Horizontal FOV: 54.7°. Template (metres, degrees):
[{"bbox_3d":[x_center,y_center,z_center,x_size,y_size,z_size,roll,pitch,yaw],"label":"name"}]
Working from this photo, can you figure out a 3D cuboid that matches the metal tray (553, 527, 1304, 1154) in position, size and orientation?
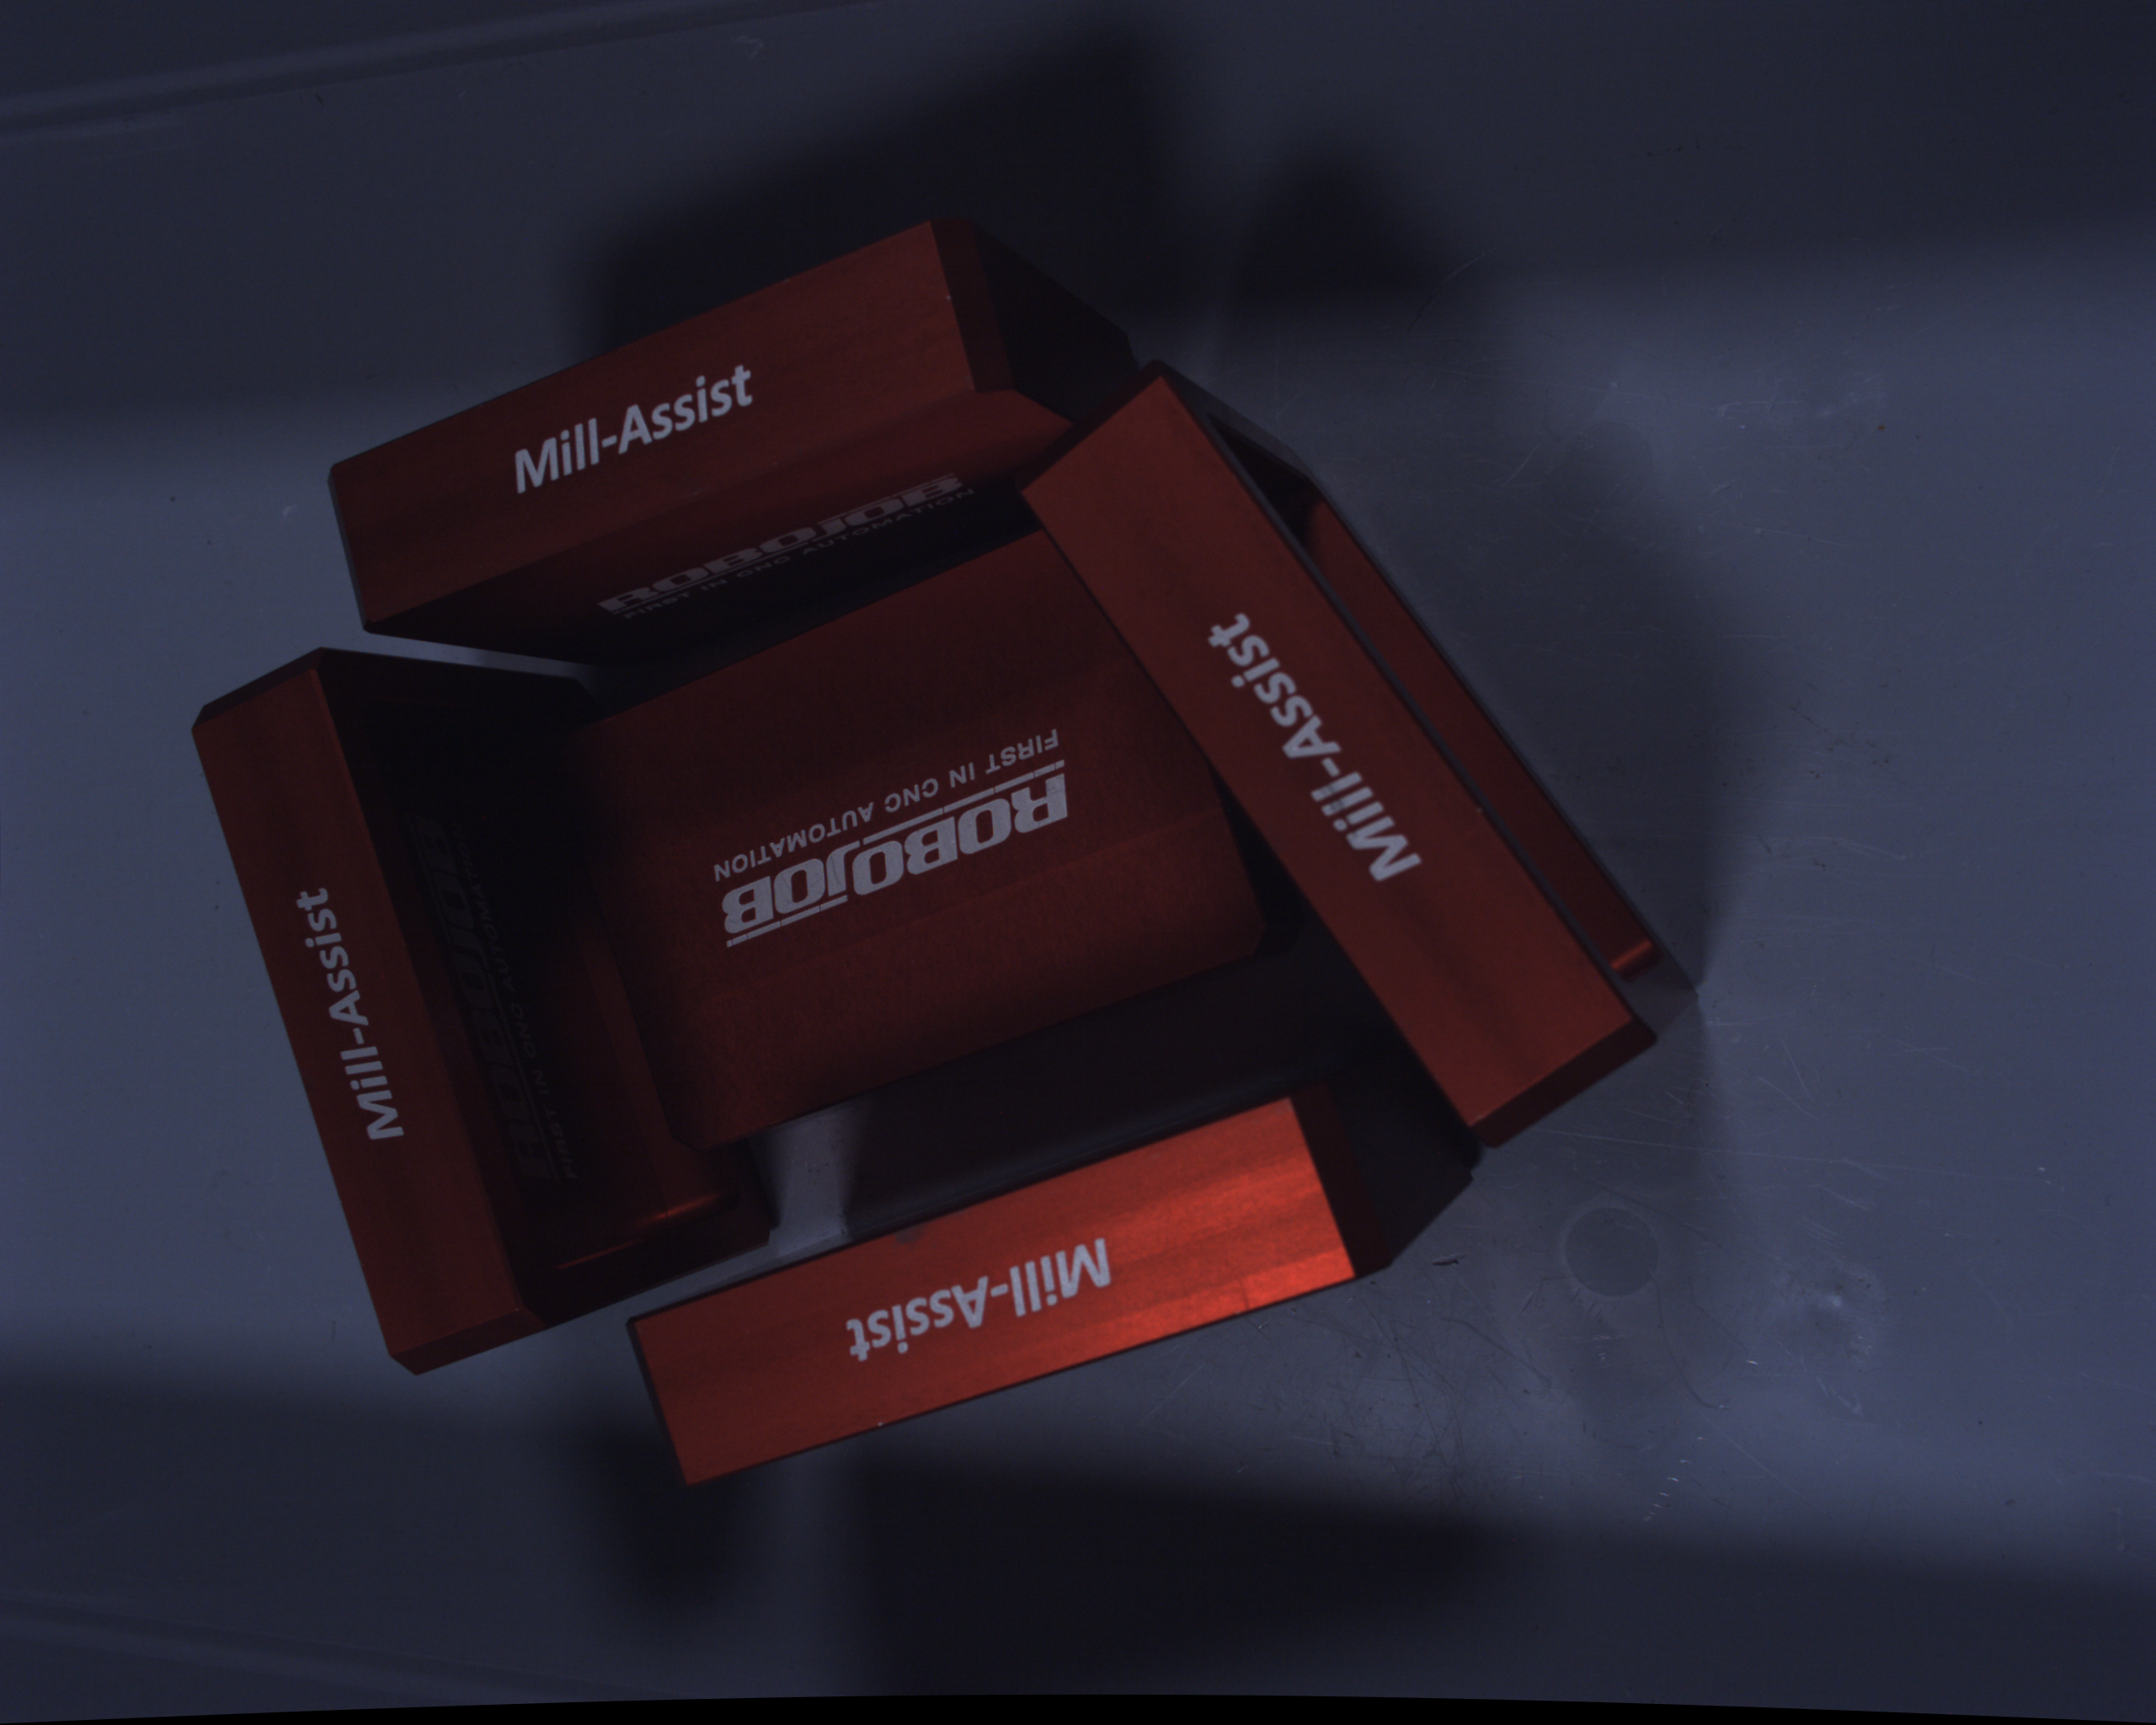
[{"bbox_3d":[-0.032,-0.004,0.415,0.130,0.030,0.090,-21,83,18],"label":"metal tray"}]

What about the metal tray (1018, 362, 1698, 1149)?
[{"bbox_3d":[0.051,-0.018,0.356,0.030,0.090,0.130,-38,78,17],"label":"metal tray"}]

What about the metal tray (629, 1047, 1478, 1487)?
[{"bbox_3d":[-0.001,0.069,0.373,0.130,0.090,0.030,-21,83,18],"label":"metal tray"}]

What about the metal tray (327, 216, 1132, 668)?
[{"bbox_3d":[-0.060,-0.073,0.394,0.130,0.090,0.030,-17,85,19],"label":"metal tray"}]

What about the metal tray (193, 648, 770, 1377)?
[{"bbox_3d":[-0.114,0.026,0.412,0.030,0.090,0.129,-22,83,18],"label":"metal tray"}]
